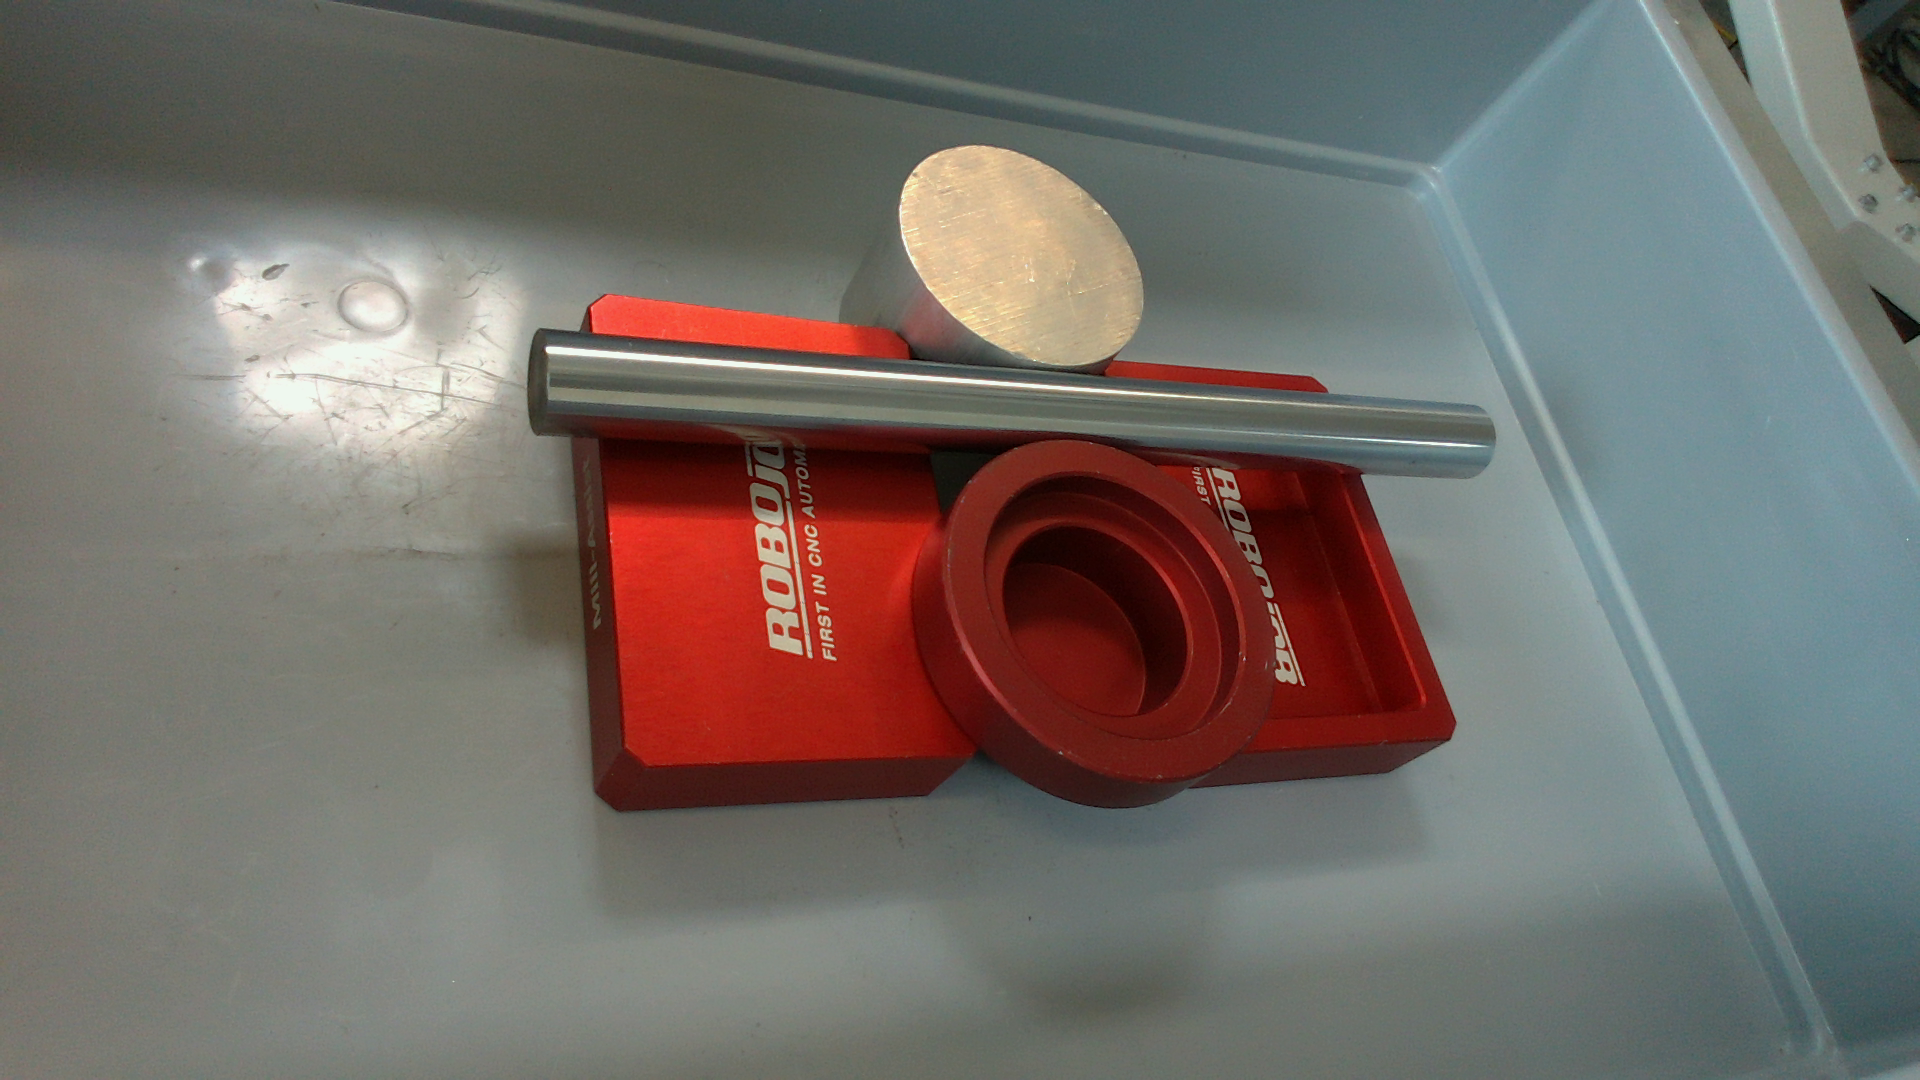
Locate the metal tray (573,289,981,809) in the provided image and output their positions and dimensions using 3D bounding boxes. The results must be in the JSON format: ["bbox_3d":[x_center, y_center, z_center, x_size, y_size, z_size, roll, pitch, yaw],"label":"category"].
[{"bbox_3d":[-0.050,0.001,0.356,0.090,0.030,0.130,3,60,-27],"label":"metal tray"}]

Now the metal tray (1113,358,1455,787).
[{"bbox_3d":[0.090,0.008,0.428,0.090,0.030,0.130,1,61,-28],"label":"metal tray"}]

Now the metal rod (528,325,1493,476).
[{"bbox_3d":[0.035,-0.035,0.389,0.301,0.025,0.025,1,61,-28],"label":"metal rod"}]

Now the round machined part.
[{"bbox_3d":[0.032,0.025,0.367,0.098,0.042,0.098,14,56,-21],"label":"round machined part"}]

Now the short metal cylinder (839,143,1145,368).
[{"bbox_3d":[0.009,-0.073,0.421,0.080,0.050,0.080,14,56,-21],"label":"short metal cylinder"}]
